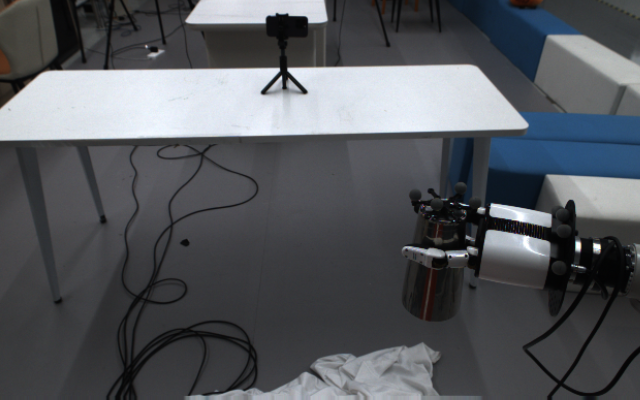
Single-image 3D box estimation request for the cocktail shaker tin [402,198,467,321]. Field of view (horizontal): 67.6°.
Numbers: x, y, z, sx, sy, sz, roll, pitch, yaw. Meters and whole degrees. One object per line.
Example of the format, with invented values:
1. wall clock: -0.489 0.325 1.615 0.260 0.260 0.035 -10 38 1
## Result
1. cocktail shaker tin: 0.177 0.082 0.722 0.093 0.170 0.093 -1 32 1
